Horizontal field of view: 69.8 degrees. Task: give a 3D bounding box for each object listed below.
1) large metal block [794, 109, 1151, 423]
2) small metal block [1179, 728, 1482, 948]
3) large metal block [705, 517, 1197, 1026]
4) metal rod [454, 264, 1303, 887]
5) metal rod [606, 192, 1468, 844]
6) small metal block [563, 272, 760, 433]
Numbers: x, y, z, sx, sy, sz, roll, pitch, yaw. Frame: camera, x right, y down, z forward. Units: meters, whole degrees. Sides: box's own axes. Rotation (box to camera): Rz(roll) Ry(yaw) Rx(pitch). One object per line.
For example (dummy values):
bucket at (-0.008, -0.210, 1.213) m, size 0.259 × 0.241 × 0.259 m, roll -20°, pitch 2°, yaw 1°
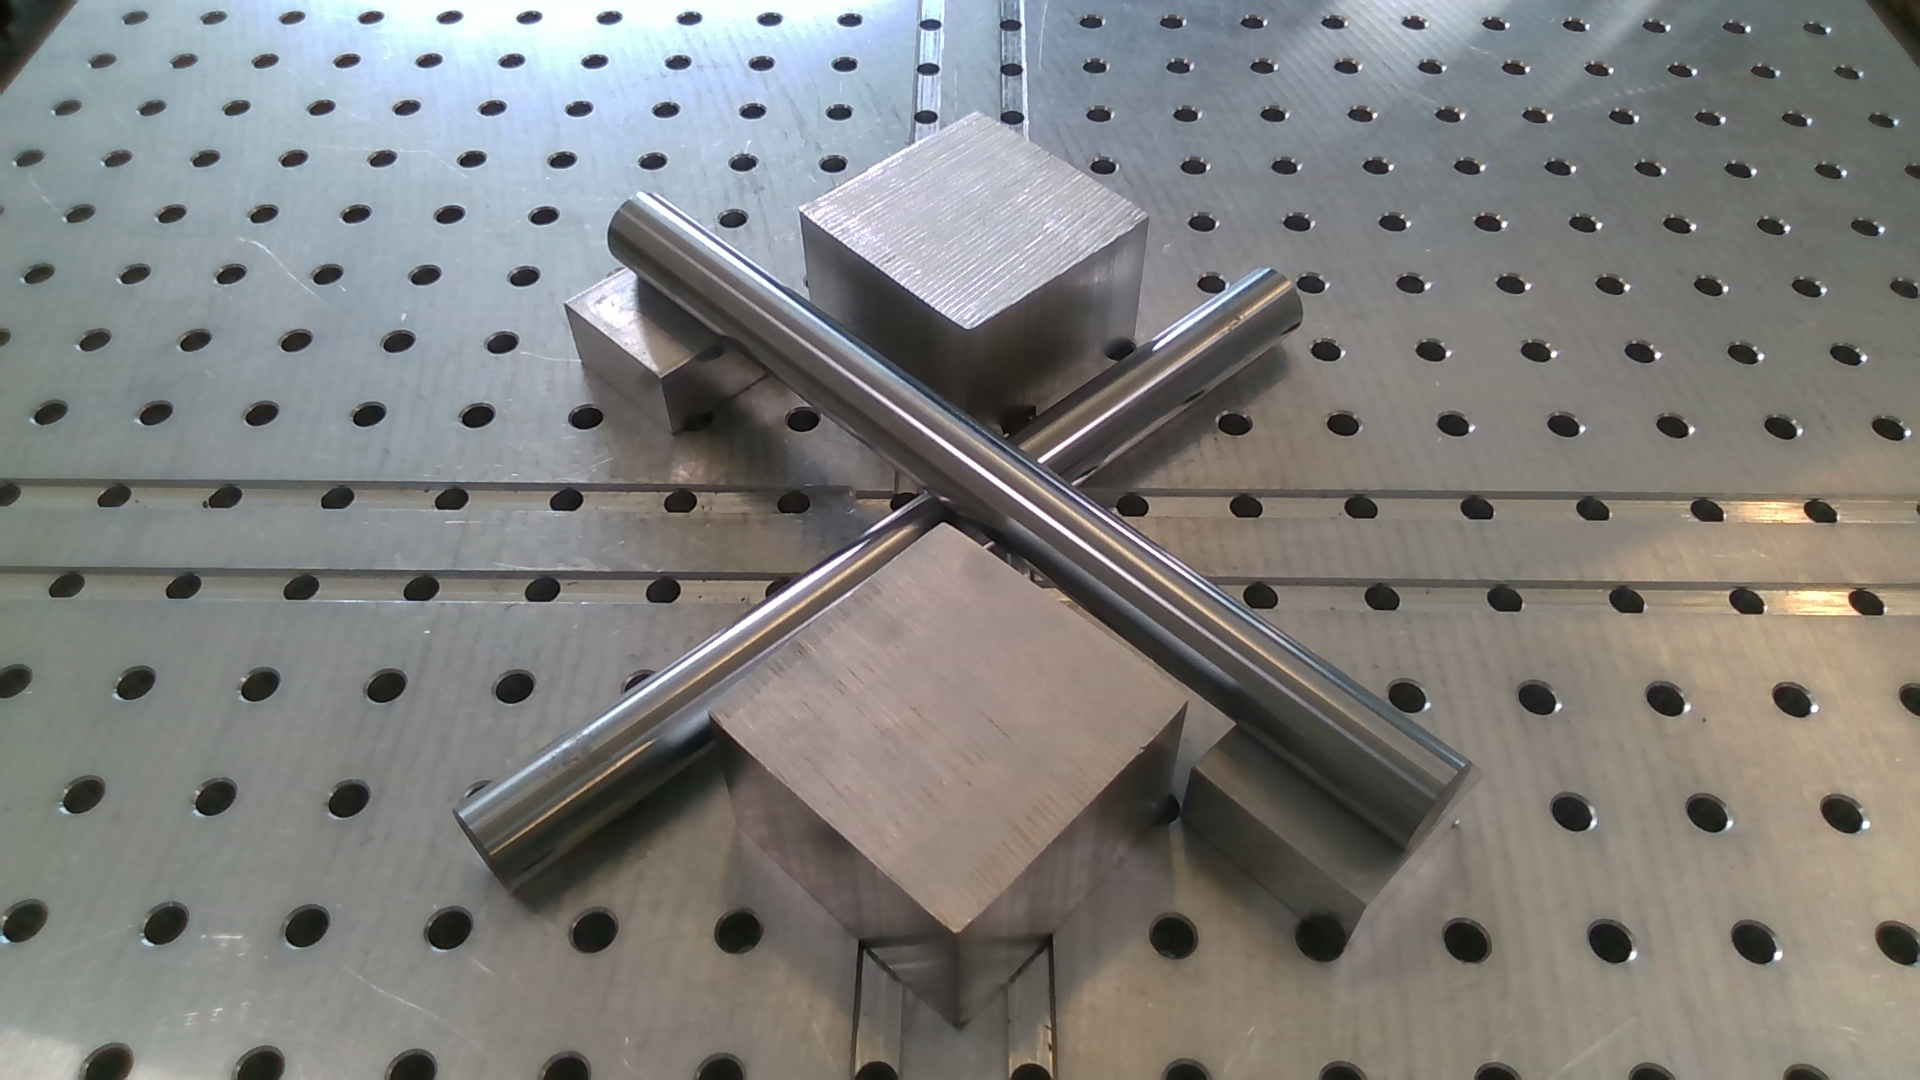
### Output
large metal block at (0.004, -0.088, 0.454) m, size 0.080 × 0.050 × 0.080 m, roll -36°, pitch 59°, yaw -26°
small metal block at (0.092, 0.063, 0.345) m, size 0.050 × 0.025 × 0.050 m, roll -37°, pitch 59°, yaw -27°
large metal block at (-0.002, 0.054, 0.336) m, size 0.080 × 0.050 × 0.080 m, roll 36°, pitch 59°, yaw 26°
metal rod at (-0.005, -0.004, 0.399) m, size 0.300 × 0.025 × 0.025 m, roll -35°, pitch 58°, yaw -26°
metal rod at (0.002, -0.021, 0.381) m, size 0.299 × 0.025 × 0.025 m, roll 37°, pitch 59°, yaw 27°
small metal block at (-0.093, -0.069, 0.455) m, size 0.050 × 0.025 × 0.050 m, roll 37°, pitch 59°, yaw 27°
